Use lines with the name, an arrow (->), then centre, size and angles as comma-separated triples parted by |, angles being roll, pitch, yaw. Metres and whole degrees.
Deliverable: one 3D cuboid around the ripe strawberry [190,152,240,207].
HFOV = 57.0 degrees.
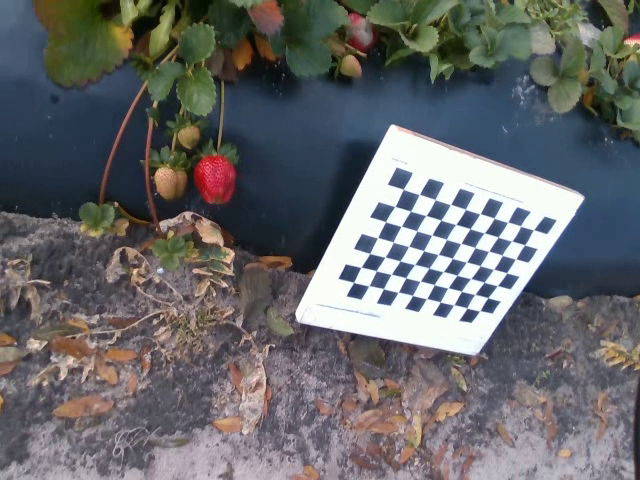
ripe strawberry -> -0.122, -0.067, 0.666 | 0.067, 0.075, 0.053 | -3, 33, -14
